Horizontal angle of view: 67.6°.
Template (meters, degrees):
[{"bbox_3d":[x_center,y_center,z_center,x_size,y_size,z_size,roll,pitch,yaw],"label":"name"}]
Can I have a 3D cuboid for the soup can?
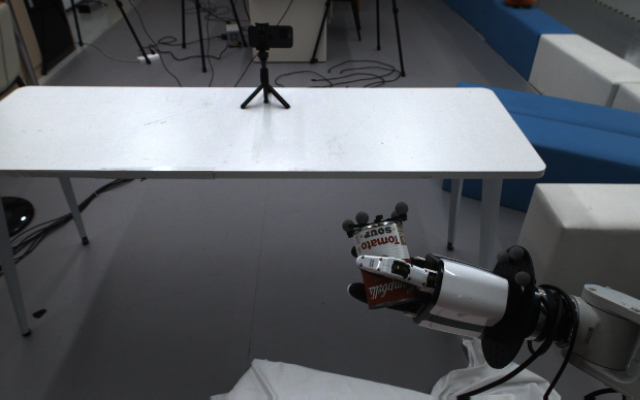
[{"bbox_3d":[0.087,0.085,0.631,0.067,0.067,0.101,-8,74,-14],"label":"soup can"}]
